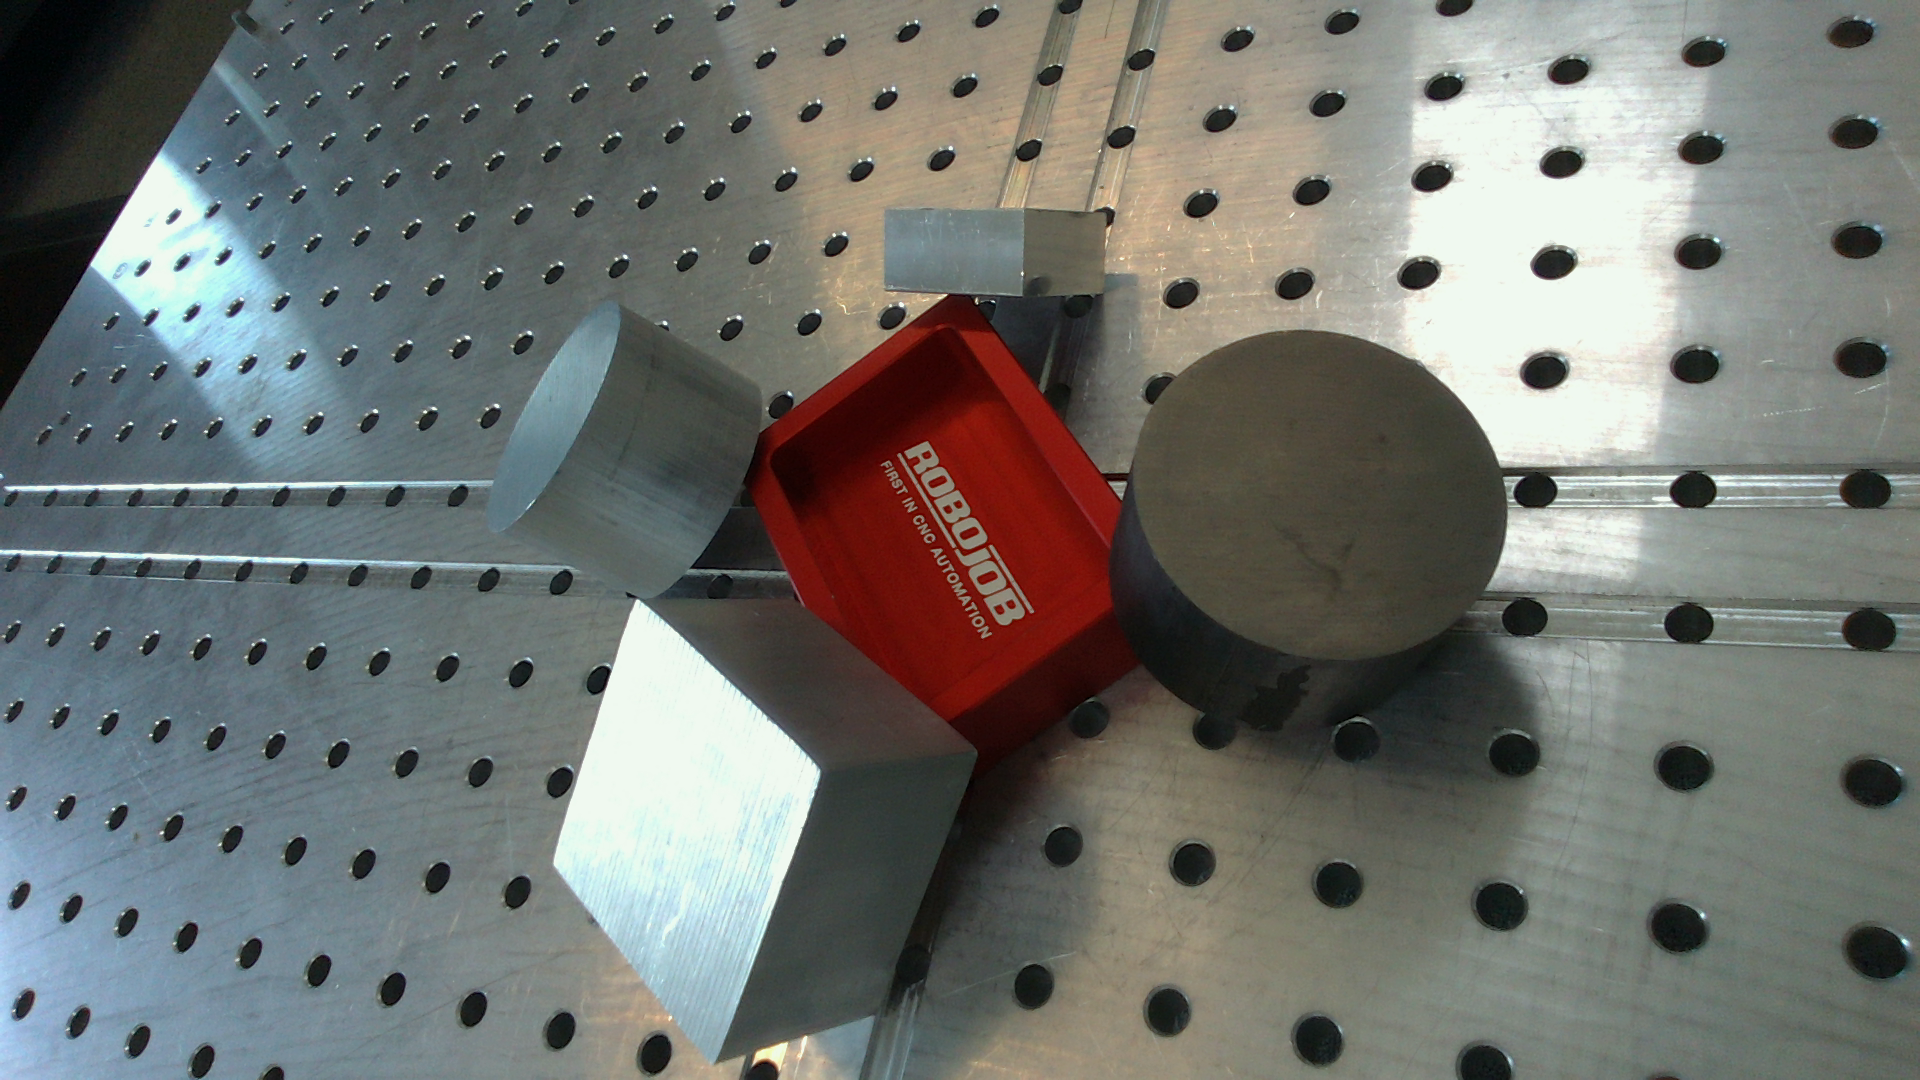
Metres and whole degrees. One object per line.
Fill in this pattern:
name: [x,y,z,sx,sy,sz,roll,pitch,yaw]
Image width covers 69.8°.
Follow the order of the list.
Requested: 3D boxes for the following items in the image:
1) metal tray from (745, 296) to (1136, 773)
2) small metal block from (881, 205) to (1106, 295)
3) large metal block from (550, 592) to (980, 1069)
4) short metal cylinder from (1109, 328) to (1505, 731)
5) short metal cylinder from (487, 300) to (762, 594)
metal tray: [-0.003,-0.004,0.397,0.090,0.030,0.130,-36,51,5]
small metal block: [0.011,-0.090,0.427,0.050,0.050,0.025,9,104,33]
large metal block: [-0.052,0.067,0.344,0.080,0.050,0.080,35,112,38]
short metal cylinder: [0.077,-0.002,0.320,0.080,0.050,0.080,0,65,-1]
short metal cylinder: [-0.107,-0.028,0.436,0.080,0.050,0.080,-37,37,35]
